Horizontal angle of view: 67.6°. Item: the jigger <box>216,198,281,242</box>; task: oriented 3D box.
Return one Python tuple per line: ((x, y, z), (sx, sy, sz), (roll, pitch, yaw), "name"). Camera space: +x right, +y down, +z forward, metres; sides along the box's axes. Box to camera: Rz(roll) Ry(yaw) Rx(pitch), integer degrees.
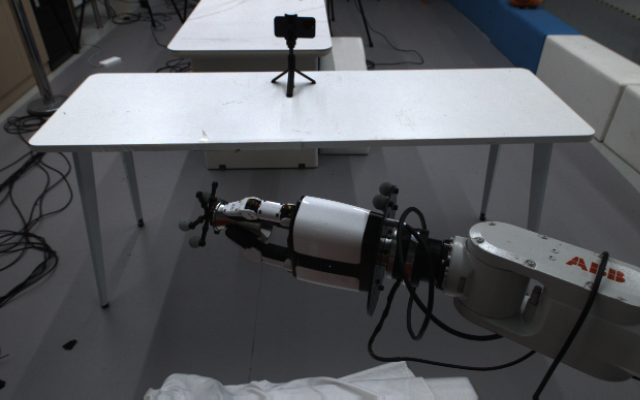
((-0.094, 0.022, 0.629), (0.071, 0.043, 0.043), (10, 35, 16), "jigger")
